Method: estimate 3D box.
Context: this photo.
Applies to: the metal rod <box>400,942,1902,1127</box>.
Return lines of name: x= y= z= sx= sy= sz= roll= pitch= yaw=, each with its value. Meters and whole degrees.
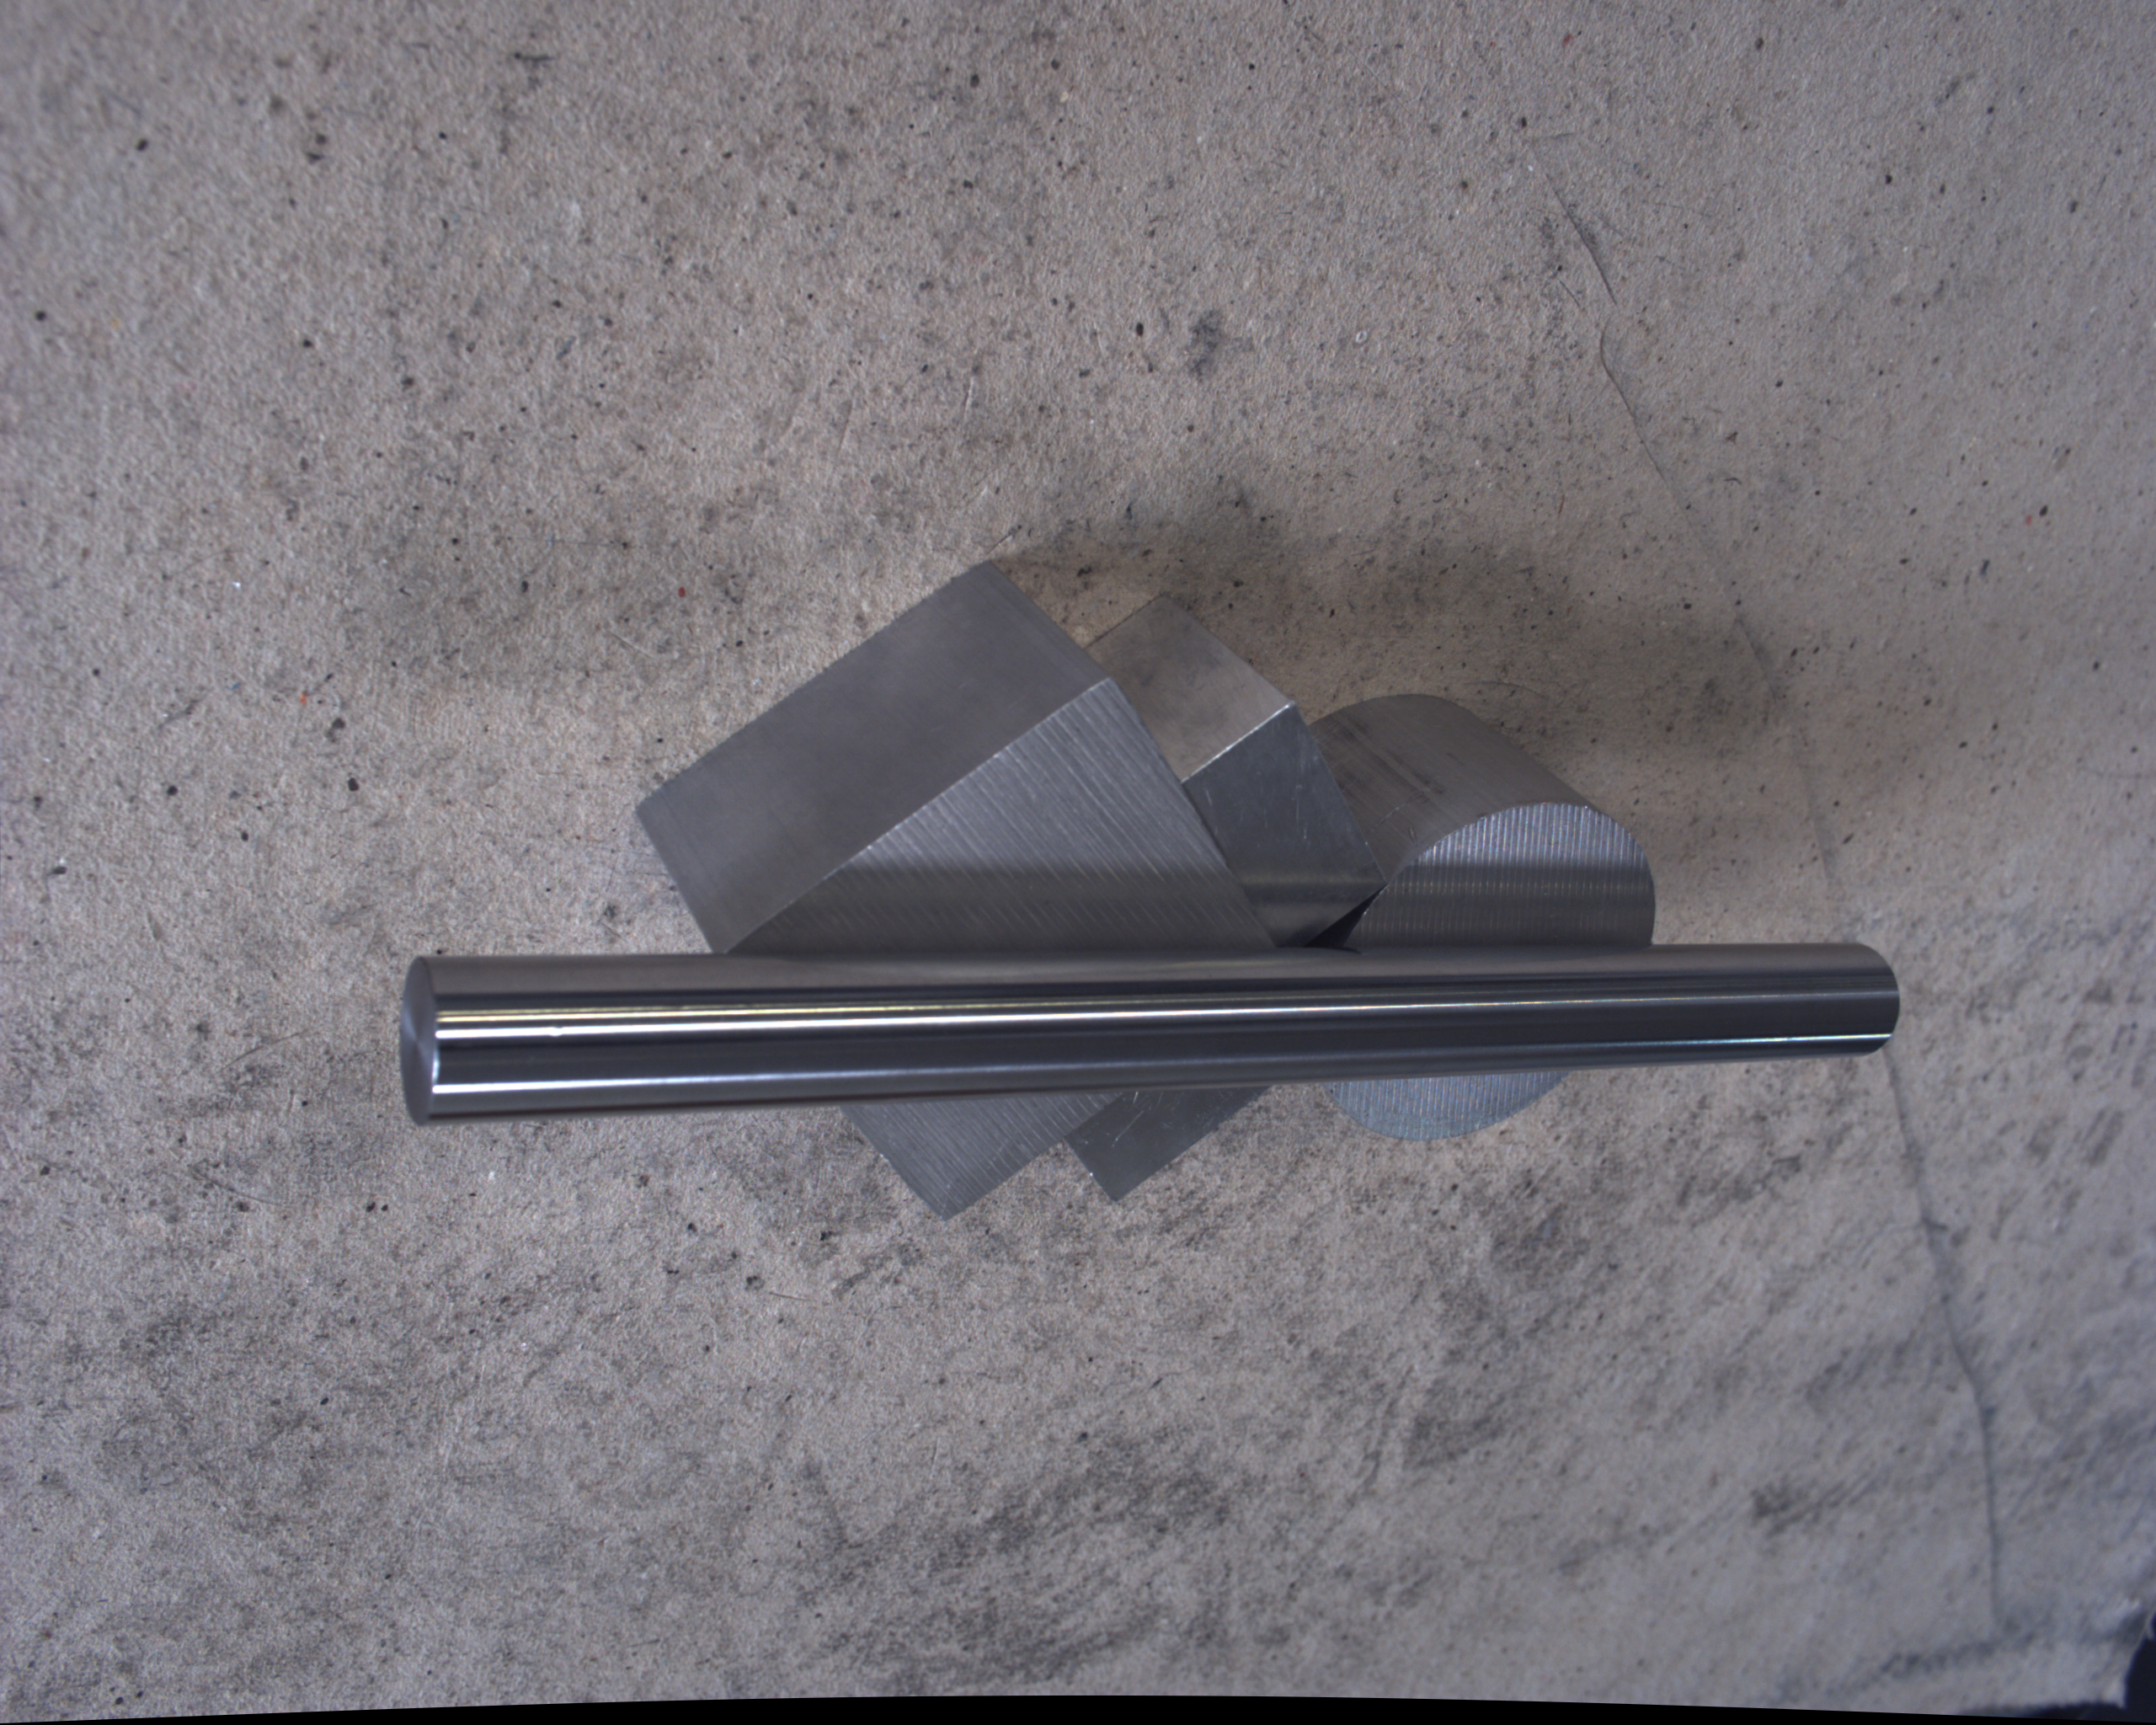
metal rod: x=0.036 y=0.028 z=0.378 sx=0.303 sy=0.025 sz=0.025 roll=1 pitch=118 yaw=-29

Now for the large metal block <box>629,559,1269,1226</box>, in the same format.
large metal block: x=-0.020 y=0.006 z=0.383 sx=0.080 sy=0.050 sz=0.080 roll=-36 pitch=129 yaw=-4

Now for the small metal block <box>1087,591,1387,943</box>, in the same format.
small metal block: x=0.027 y=-0.017 z=0.397 sx=0.025 sy=0.050 sz=0.050 roll=-37 pitch=130 yaw=-4

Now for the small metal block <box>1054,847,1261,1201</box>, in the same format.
small metal block: x=0.010 y=0.031 z=0.418 sx=0.050 sy=0.050 sz=0.025 roll=-36 pitch=130 yaw=-4

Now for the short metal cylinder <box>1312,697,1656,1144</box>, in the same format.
short metal cylinder: x=0.073 y=0.012 z=0.438 sx=0.081 sy=0.050 sz=0.079 roll=-14 pitch=124 yaw=-21
